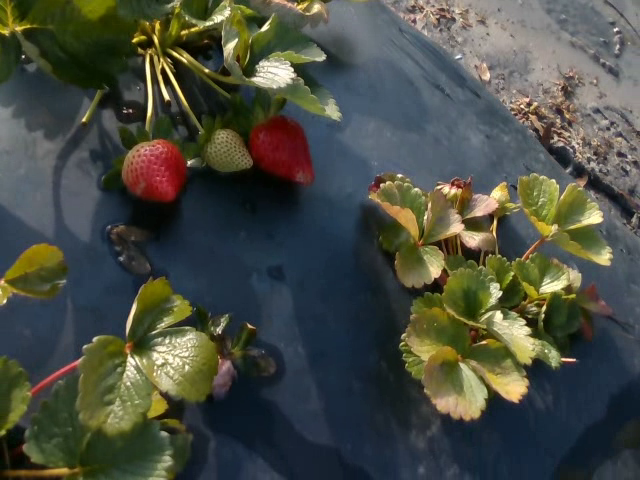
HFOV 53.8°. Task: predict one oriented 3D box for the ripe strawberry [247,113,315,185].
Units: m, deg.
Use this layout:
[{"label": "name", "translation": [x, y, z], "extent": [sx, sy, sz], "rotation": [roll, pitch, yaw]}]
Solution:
[{"label": "ripe strawberry", "translation": [-0.023, -0.061, 0.447], "extent": [0.048, 0.065, 0.050], "rotation": [-34, -6, 9]}]
